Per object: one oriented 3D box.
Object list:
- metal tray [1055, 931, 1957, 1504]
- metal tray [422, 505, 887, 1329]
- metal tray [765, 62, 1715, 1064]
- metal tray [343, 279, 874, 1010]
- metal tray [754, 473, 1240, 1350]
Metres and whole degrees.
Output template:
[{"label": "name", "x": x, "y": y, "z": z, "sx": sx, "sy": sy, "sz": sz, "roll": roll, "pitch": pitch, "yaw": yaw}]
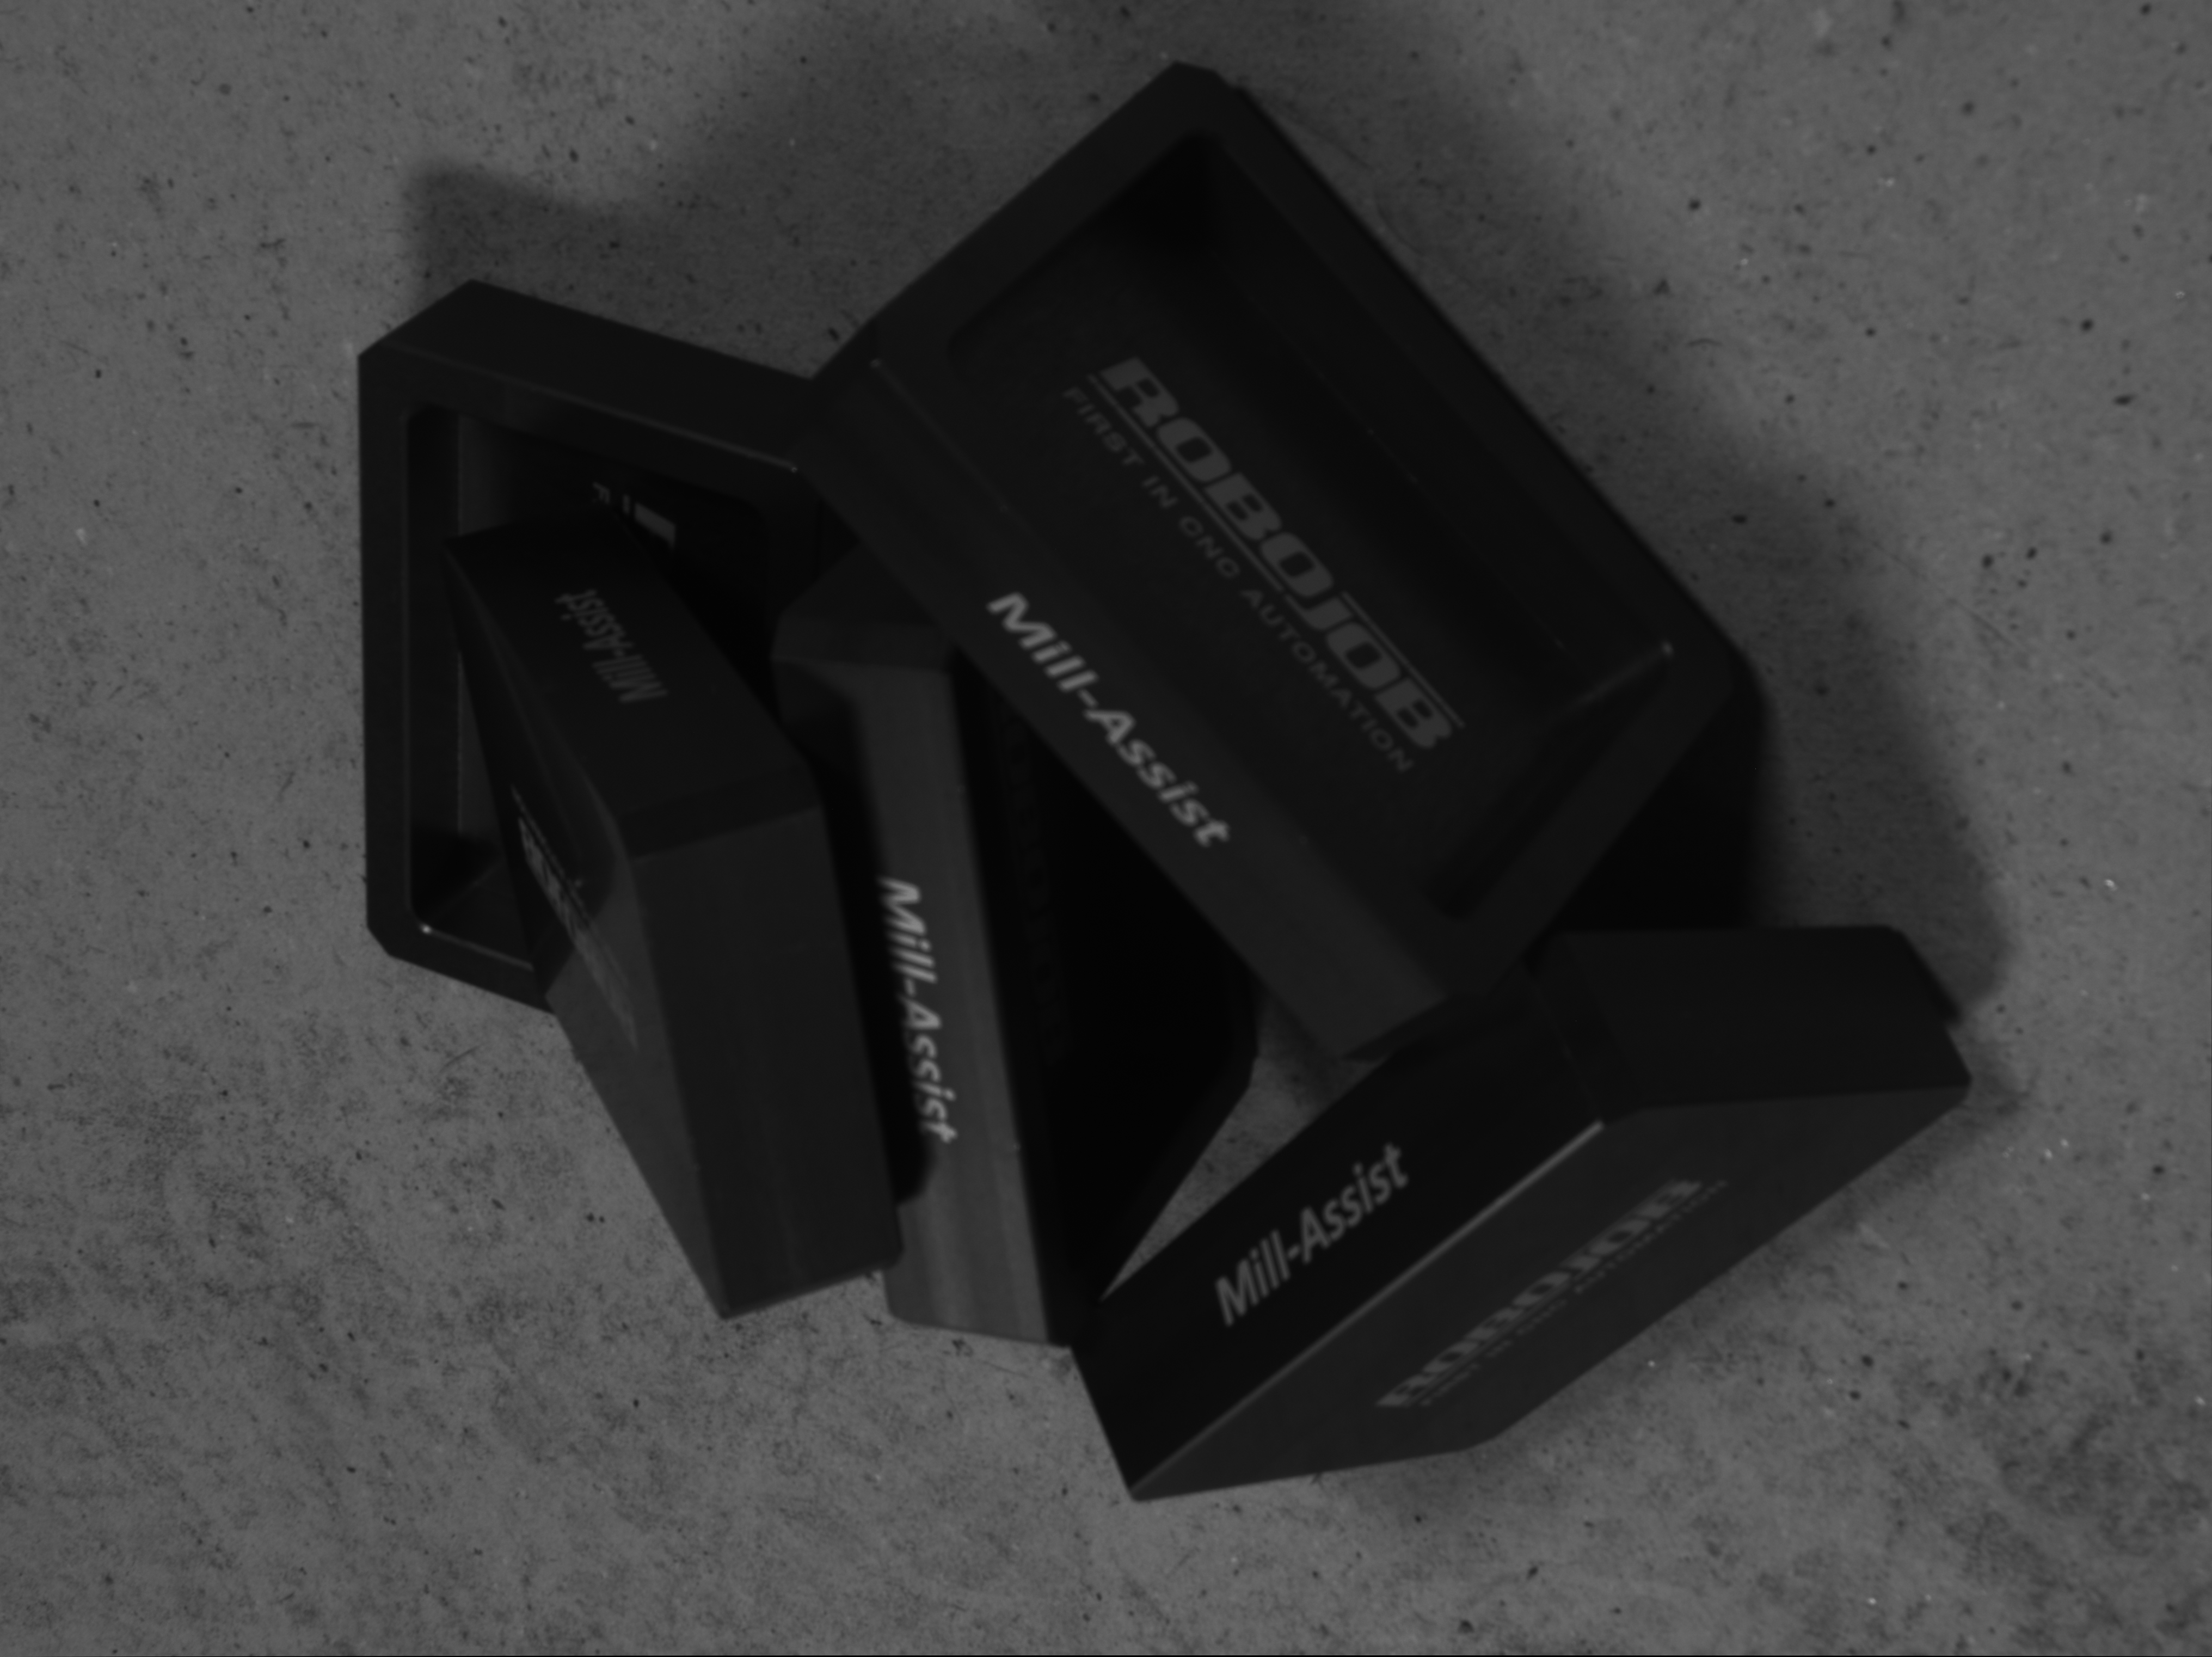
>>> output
[{"label": "metal tray", "x": 0.063, "y": 0.064, "z": 0.597, "sx": 0.130, "sy": 0.090, "sz": 0.030, "roll": -44, "pitch": 58, "yaw": 38}, {"label": "metal tray", "x": -0.076, "y": 0.011, "z": 0.604, "sx": 0.130, "sy": 0.030, "sz": 0.090, "roll": -133, "pitch": 31, "yaw": -57}, {"label": "metal tray", "x": 0.023, "y": -0.041, "z": 0.551, "sx": 0.130, "sy": 0.090, "sz": 0.030, "roll": 48, "pitch": 142, "yaw": -6}, {"label": "metal tray", "x": -0.090, "y": -0.024, "z": 0.659, "sx": 0.090, "sy": 0.030, "sz": 0.130, "roll": 18, "pitch": 125, "yaw": 16}, {"label": "metal tray", "x": -0.014, "y": 0.008, "z": 0.602, "sx": 0.030, "sy": 0.090, "sz": 0.130, "roll": 6, "pitch": 121, "yaw": 24}]
